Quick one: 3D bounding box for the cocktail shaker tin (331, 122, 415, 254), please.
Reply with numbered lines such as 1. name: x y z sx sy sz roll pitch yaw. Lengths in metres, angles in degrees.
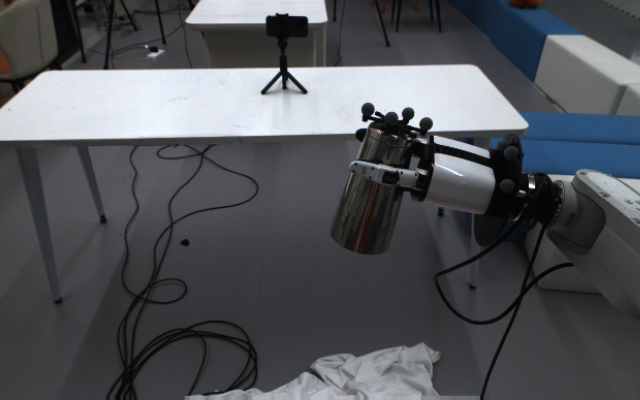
1. cocktail shaker tin: 0.081 -0.022 0.685 0.093 0.170 0.093 12 25 -6
